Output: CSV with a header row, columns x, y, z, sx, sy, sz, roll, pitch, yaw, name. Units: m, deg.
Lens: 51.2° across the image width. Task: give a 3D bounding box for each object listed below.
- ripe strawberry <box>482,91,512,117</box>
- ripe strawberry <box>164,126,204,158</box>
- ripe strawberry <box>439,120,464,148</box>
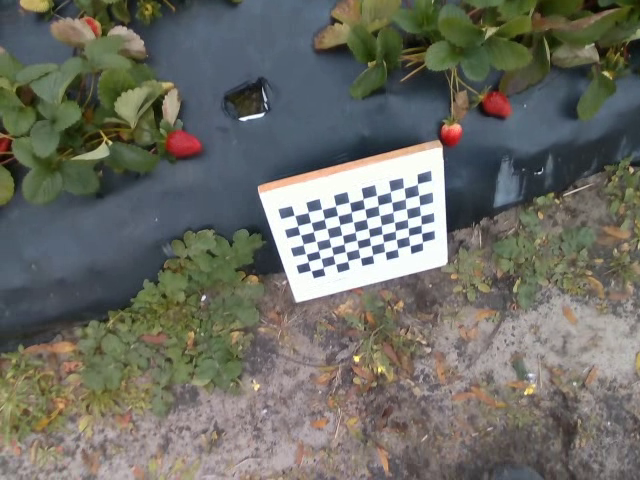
x,y,z,sx,sy,sz,roll,pitch,yaw,name
0.273,-0.209,1.016,0.059,0.042,0.044,35,-47,-12,ripe strawberry
-0.211,-0.146,1.029,0.064,0.049,0.046,16,-34,17,ripe strawberry
0.207,-0.164,1.028,0.036,0.041,0.028,-8,28,8,ripe strawberry
